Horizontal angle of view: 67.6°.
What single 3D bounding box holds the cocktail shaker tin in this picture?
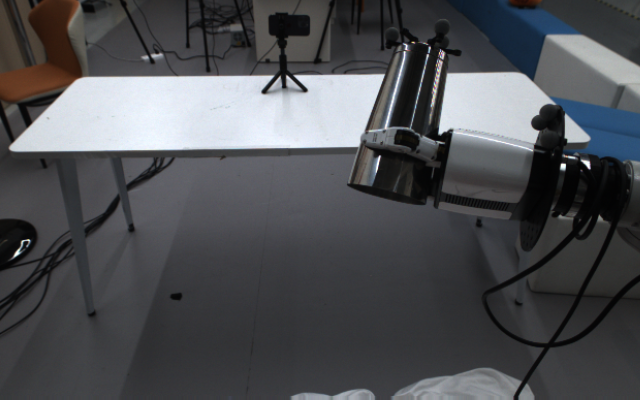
[{"bbox_3d":[0.098,-0.087,0.560,0.093,0.170,0.093,15,-4,1],"label":"cocktail shaker tin"}]
